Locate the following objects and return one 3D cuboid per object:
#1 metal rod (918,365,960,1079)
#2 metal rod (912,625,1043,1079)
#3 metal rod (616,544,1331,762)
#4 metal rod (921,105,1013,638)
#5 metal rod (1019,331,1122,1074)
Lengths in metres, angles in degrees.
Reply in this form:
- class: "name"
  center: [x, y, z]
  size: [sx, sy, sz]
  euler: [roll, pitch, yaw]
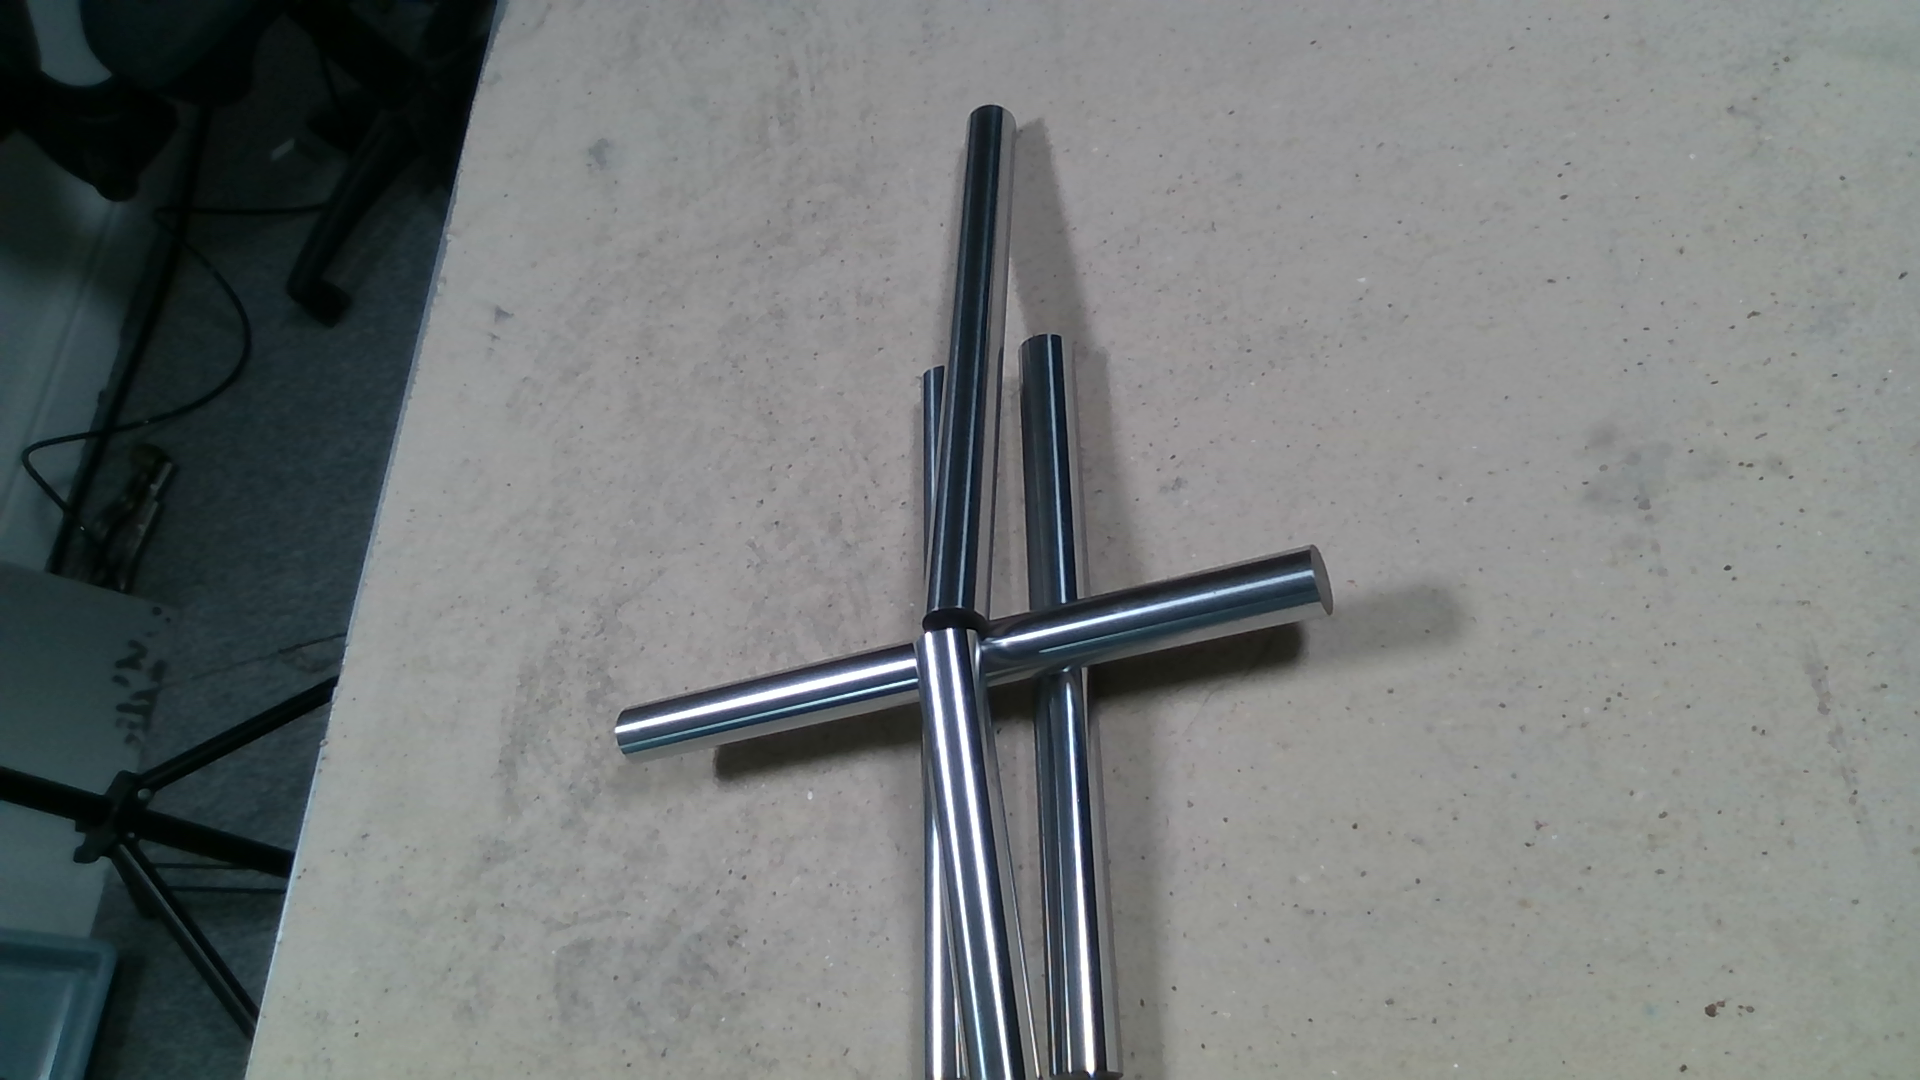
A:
- class: "metal rod"
  center: [-0.004, 0.058, 0.557]
  size: [0.025, 0.025, 0.299]
  euler: [-15, 58, 24]
- class: "metal rod"
  center: [0.014, 0.174, 0.453]
  size: [0.025, 0.025, 0.299]
  euler: [-17, 68, 23]
- class: "metal rod"
  center: [-0.008, 0.049, 0.533]
  size: [0.300, 0.025, 0.025]
  euler: [-15, 59, 25]
- class: "metal rod"
  center: [0.007, -0.087, 0.595]
  size: [0.025, 0.025, 0.299]
  euler: [-16, 49, 24]
- class: "metal rod"
  center: [0.040, 0.047, 0.535]
  size: [0.025, 0.025, 0.299]
  euler: [-15, 58, 24]
